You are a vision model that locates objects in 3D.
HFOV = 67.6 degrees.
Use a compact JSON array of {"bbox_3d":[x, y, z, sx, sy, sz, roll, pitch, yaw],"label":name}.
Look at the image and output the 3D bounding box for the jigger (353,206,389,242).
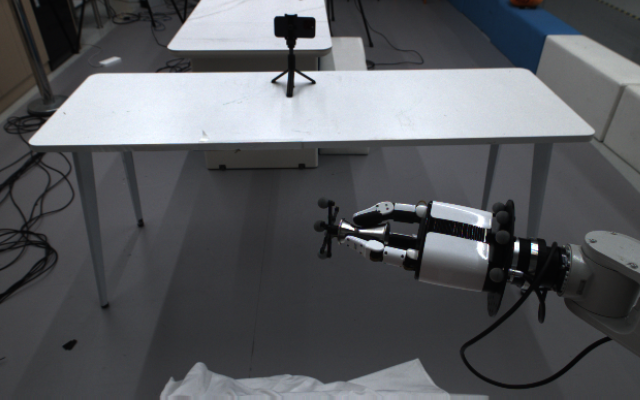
[{"bbox_3d":[0.069,0.046,0.695,0.071,0.043,0.043,7,35,16],"label":"jigger"}]
